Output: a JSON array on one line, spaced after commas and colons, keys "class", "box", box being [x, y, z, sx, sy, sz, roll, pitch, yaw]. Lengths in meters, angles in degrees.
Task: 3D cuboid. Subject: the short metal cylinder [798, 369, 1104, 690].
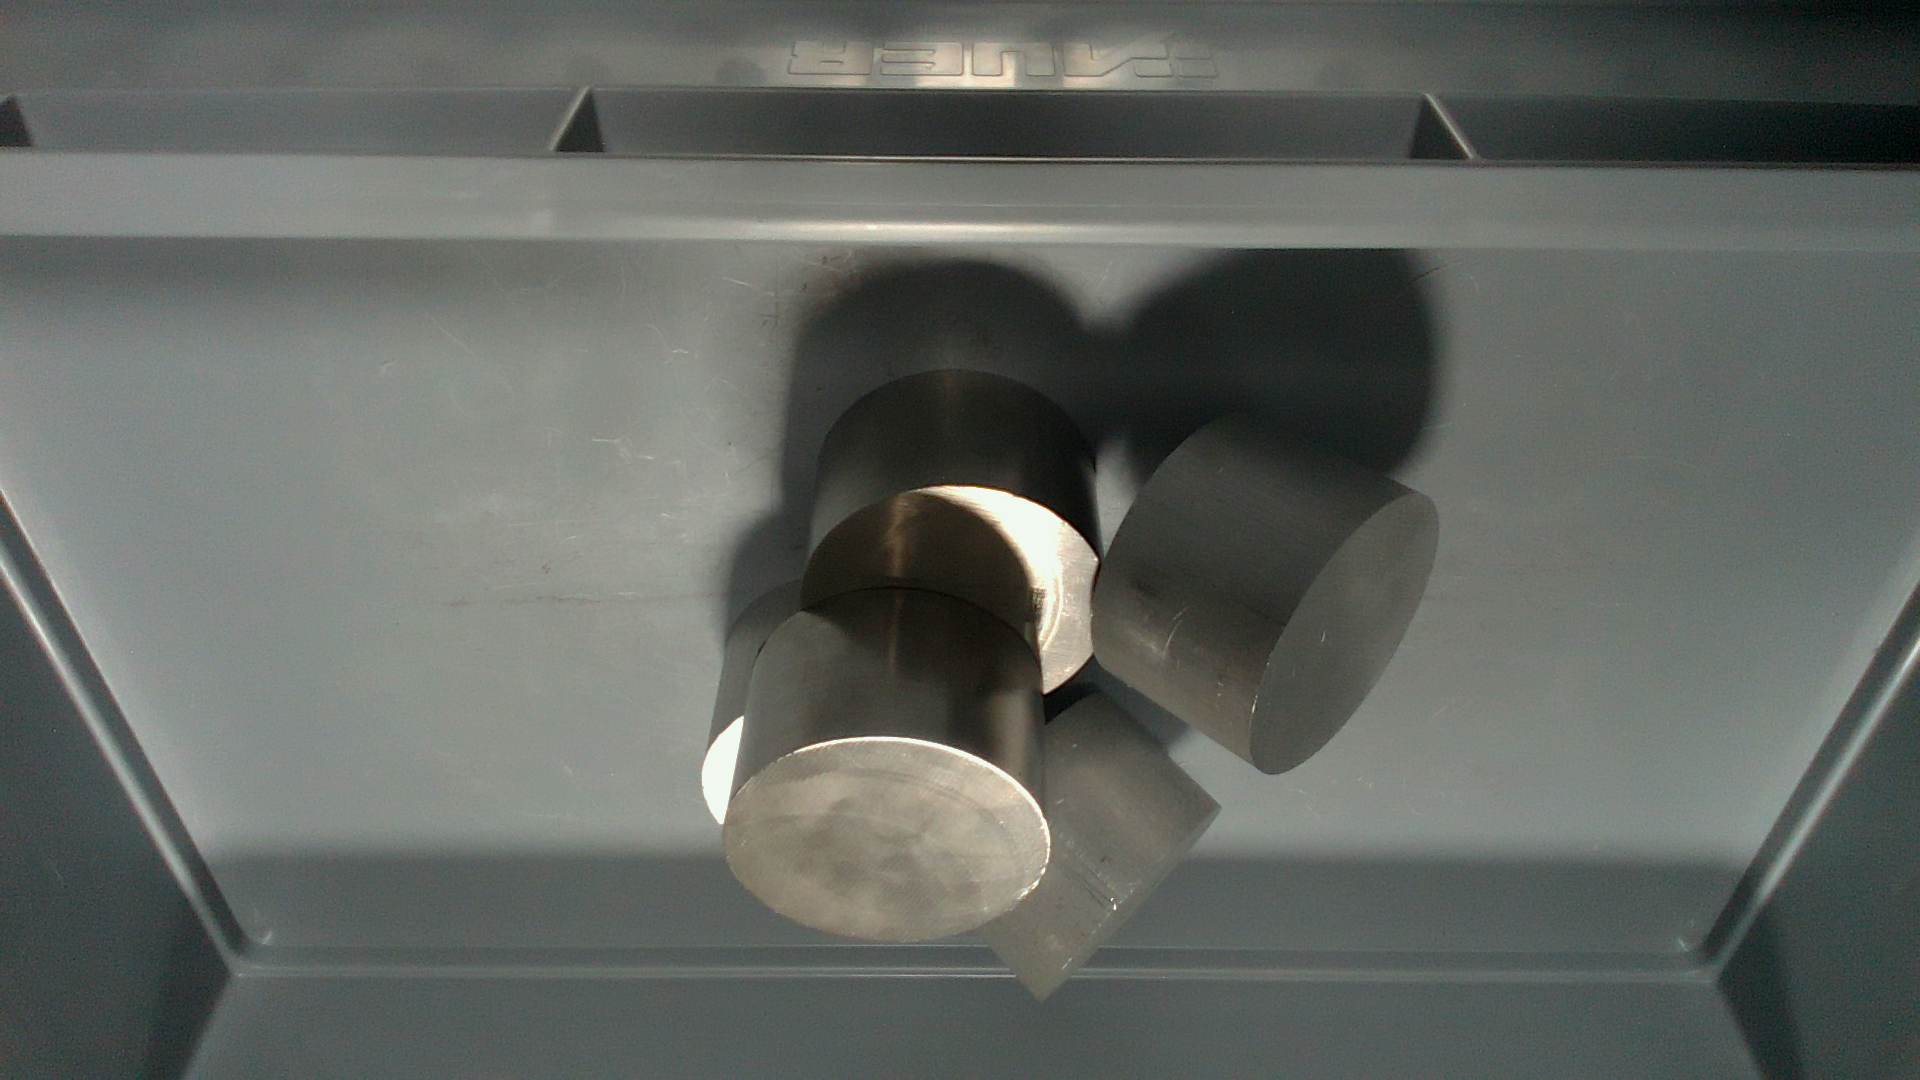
[{"class": "short metal cylinder", "box": [-0.001, 0.001, 0.373, 0.080, 0.050, 0.080, 0, 130, 0]}]

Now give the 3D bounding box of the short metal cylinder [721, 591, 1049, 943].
[{"class": "short metal cylinder", "box": [-0.018, 0.060, 0.356, 0.080, 0.050, 0.080, 0, 130, 0]}]

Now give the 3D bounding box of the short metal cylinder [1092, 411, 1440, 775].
[{"class": "short metal cylinder", "box": [0.080, 0.013, 0.357, 0.080, 0.050, 0.080, -31, 138, -33]}]

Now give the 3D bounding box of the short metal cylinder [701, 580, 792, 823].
[{"class": "short metal cylinder", "box": [-0.035, 0.056, 0.421, 0.080, 0.050, 0.080, 0, 130, 0]}]

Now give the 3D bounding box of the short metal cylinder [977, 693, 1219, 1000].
[{"class": "short metal cylinder", "box": [0.034, 0.093, 0.423, 0.050, 0.080, 0.080, 43, 128, 18]}]
